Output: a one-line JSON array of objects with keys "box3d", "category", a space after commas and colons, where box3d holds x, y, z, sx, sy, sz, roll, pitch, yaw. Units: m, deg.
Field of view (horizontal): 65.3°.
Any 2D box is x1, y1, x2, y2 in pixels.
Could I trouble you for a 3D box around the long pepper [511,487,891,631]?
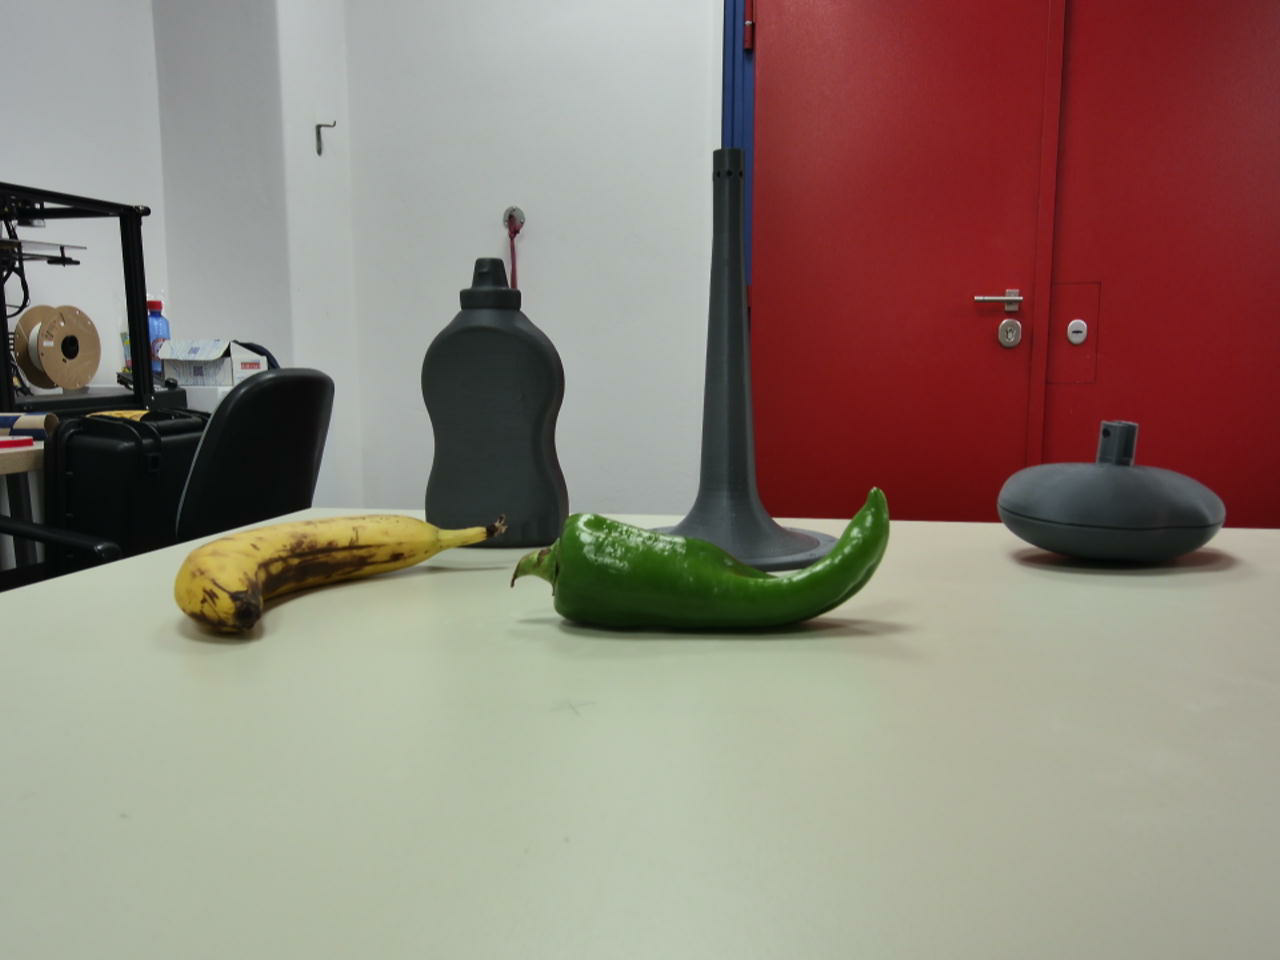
[{"box3d": [0.025, 0.035, 0.459, 0.175, 0.065, 0.058, 1, 4, 11], "category": "long pepper"}]
